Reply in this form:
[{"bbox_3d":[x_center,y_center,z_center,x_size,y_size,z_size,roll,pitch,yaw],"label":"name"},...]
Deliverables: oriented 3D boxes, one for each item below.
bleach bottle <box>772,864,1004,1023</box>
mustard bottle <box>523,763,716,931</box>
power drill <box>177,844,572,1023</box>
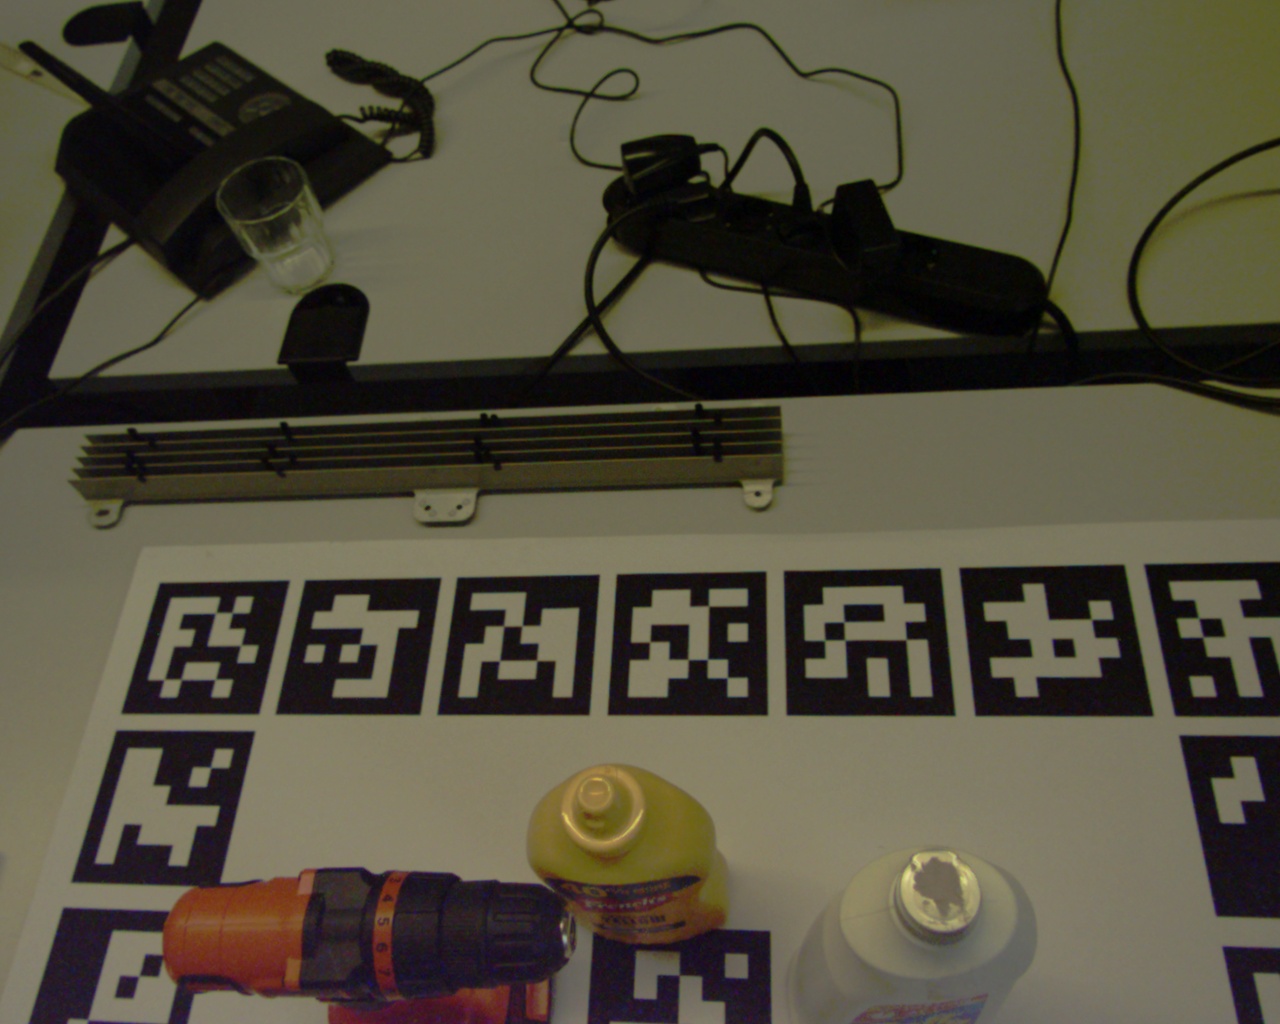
[{"bbox_3d":[0.112,0.215,0.545,0.103,0.249,0.068,-9,60,4],"label":"bleach bottle"},{"bbox_3d":[-0.012,0.178,0.612,0.096,0.190,0.058,0,60,7],"label":"mustard bottle"},{"bbox_3d":[-0.118,0.224,0.582,0.185,0.186,0.057,-3,53,5],"label":"power drill"}]
